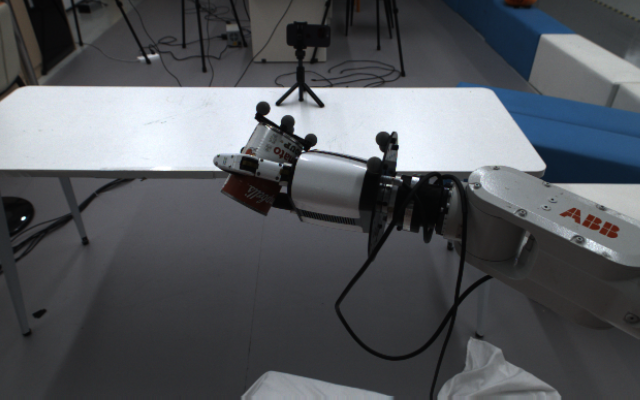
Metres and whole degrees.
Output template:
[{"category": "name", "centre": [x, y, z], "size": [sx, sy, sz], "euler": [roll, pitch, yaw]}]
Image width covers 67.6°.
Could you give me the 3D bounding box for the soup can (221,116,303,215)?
[{"category": "soup can", "centre": [-0.073, -0.039, 0.617], "size": [0.067, 0.101, 0.067], "euler": [29, -3, 1]}]
